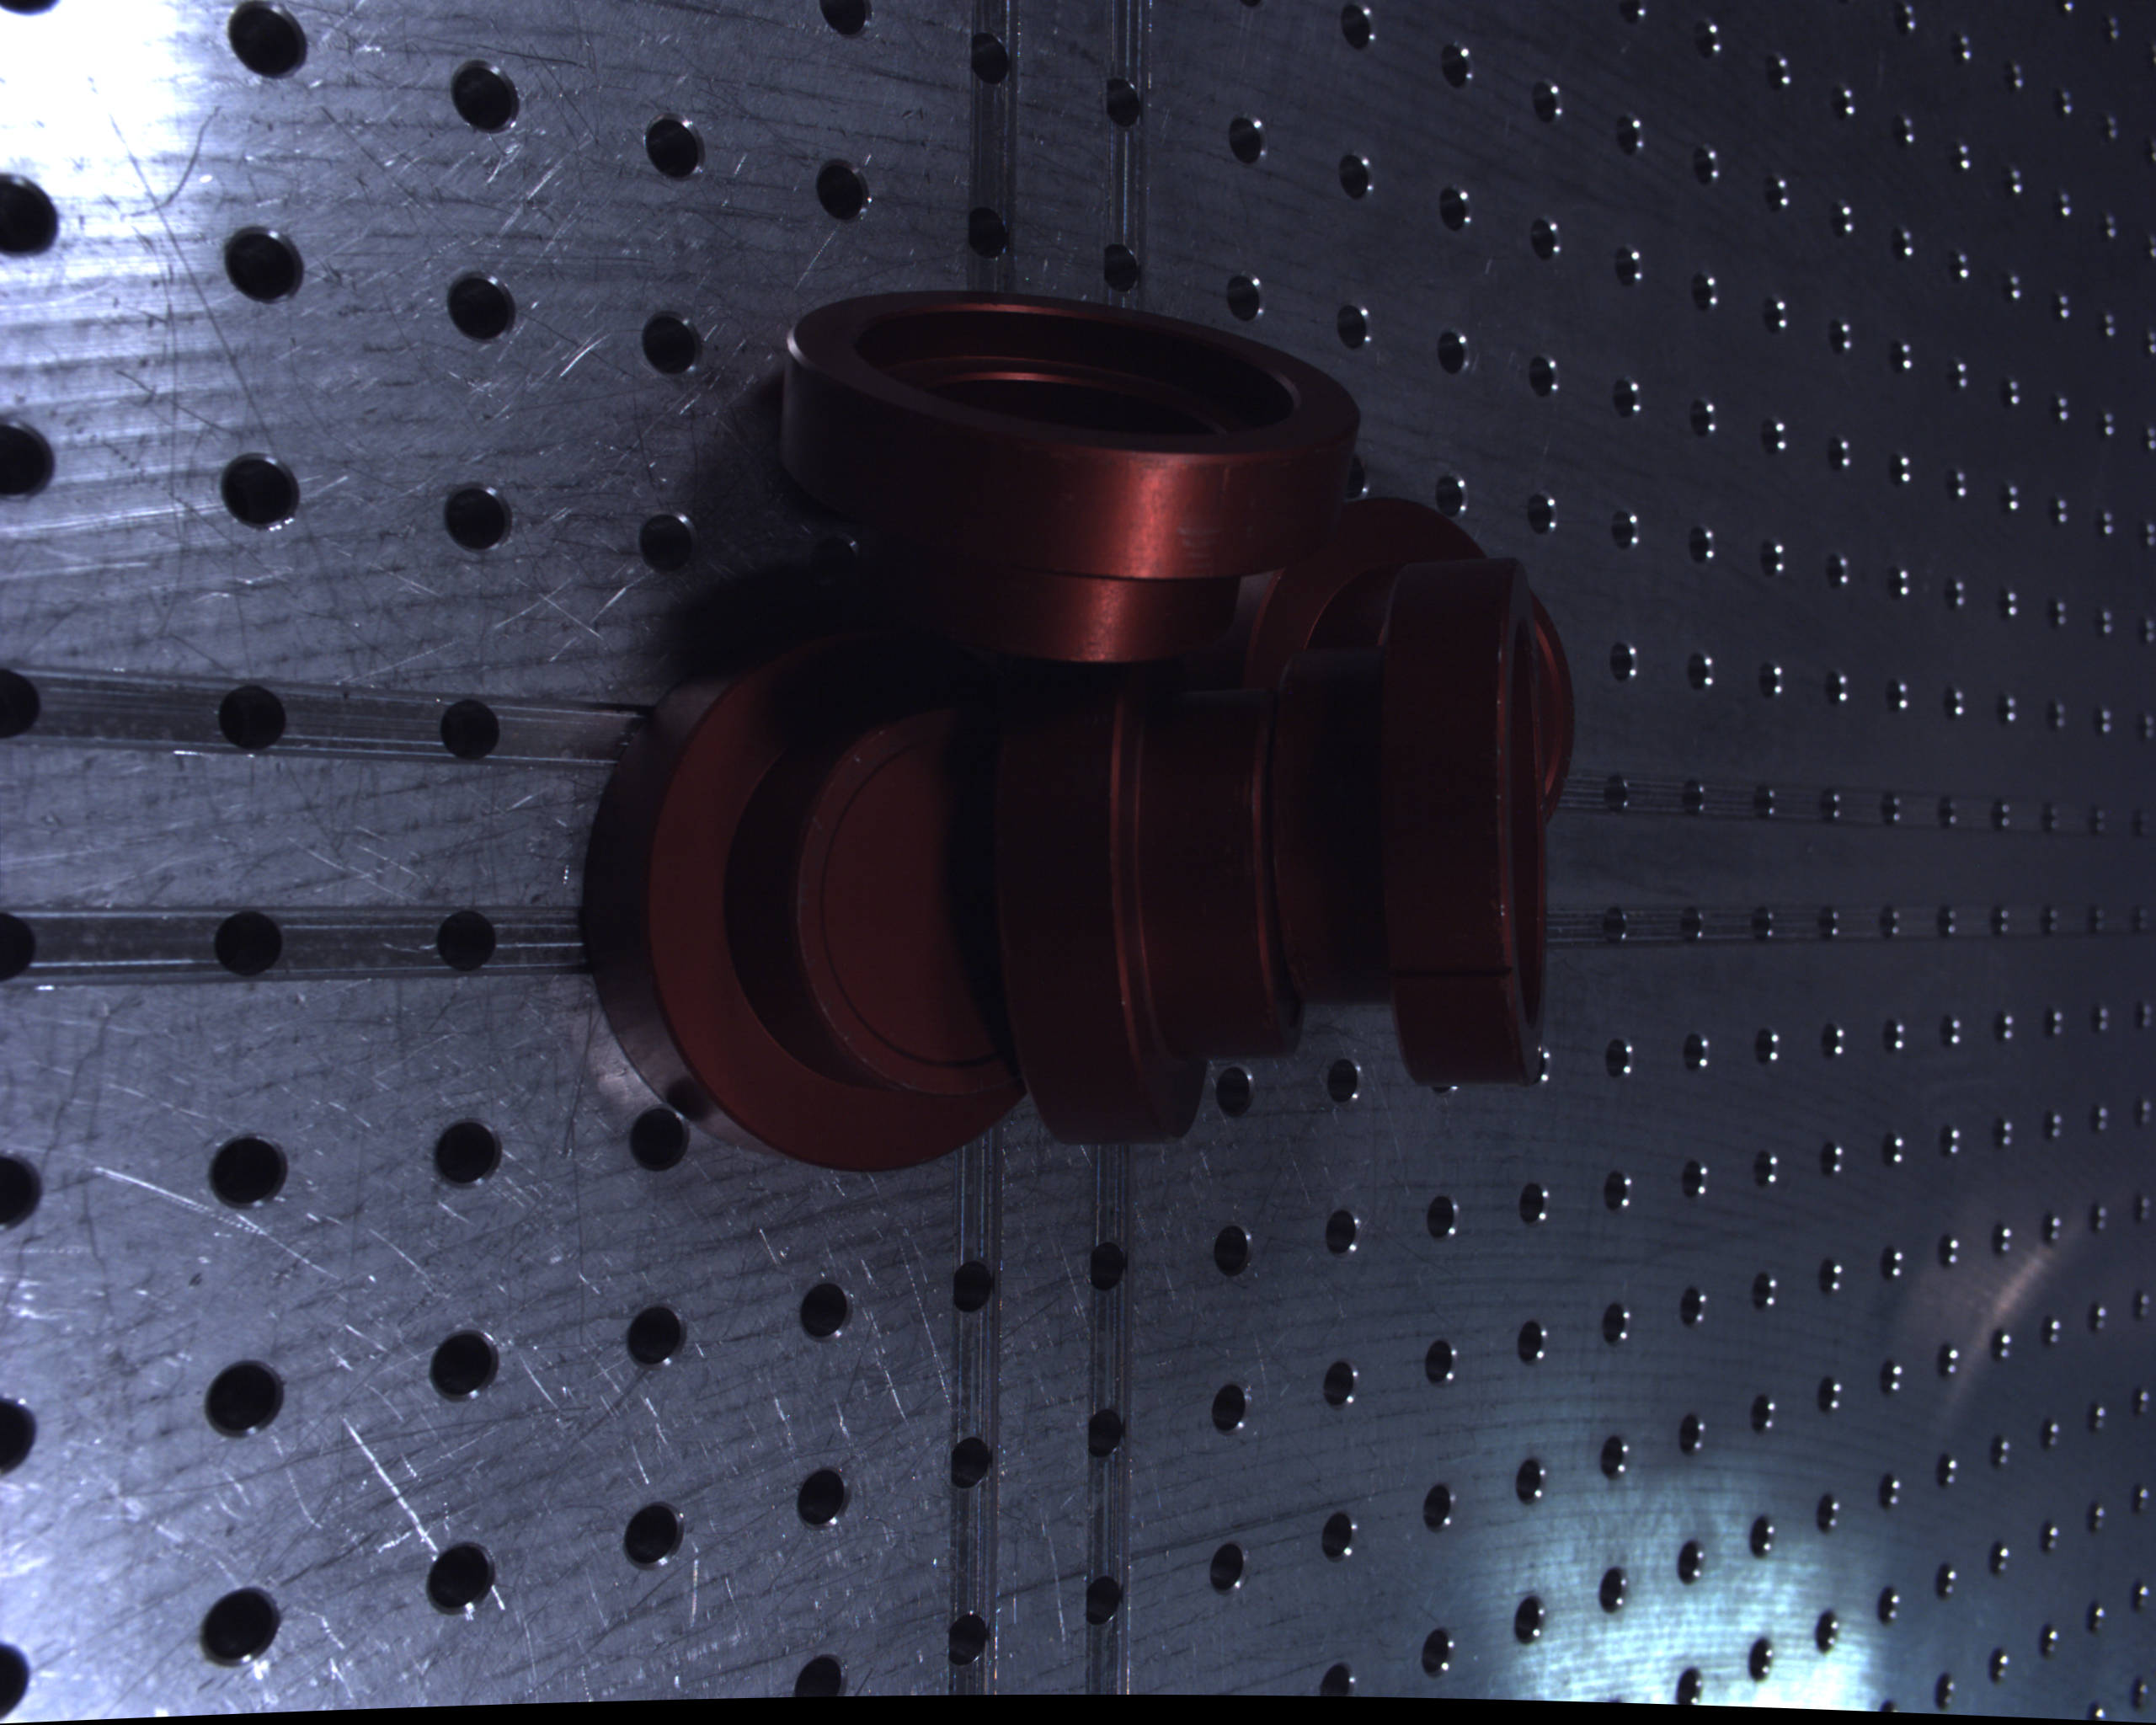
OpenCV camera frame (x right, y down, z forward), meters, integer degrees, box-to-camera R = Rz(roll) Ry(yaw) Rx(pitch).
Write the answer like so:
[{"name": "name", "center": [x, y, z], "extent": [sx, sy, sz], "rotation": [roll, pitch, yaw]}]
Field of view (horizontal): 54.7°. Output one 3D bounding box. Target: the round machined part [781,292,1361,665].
[{"name": "round machined part", "center": [-0.003, -0.067, 0.367], "extent": [0.099, 0.098, 0.042], "rotation": [-16, 126, -39]}]

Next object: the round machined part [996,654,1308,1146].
[{"name": "round machined part", "center": [0.018, 0.003, 0.384], "extent": [0.098, 0.042, 0.097], "rotation": [-4, 91, -77]}]

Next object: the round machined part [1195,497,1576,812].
[{"name": "round machined part", "center": [0.073, -0.032, 0.461], "extent": [0.099, 0.042, 0.097], "rotation": [0, 90, -40]}]

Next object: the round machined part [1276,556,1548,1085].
[{"name": "round machined part", "center": [0.063, -0.007, 0.391], "extent": [0.098, 0.042, 0.097], "rotation": [-2, 91, -73]}]

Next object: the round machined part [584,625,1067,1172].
[{"name": "round machined part", "center": [-0.034, 0.006, 0.372], "extent": [0.099, 0.042, 0.097], "rotation": [0, 90, -40]}]
